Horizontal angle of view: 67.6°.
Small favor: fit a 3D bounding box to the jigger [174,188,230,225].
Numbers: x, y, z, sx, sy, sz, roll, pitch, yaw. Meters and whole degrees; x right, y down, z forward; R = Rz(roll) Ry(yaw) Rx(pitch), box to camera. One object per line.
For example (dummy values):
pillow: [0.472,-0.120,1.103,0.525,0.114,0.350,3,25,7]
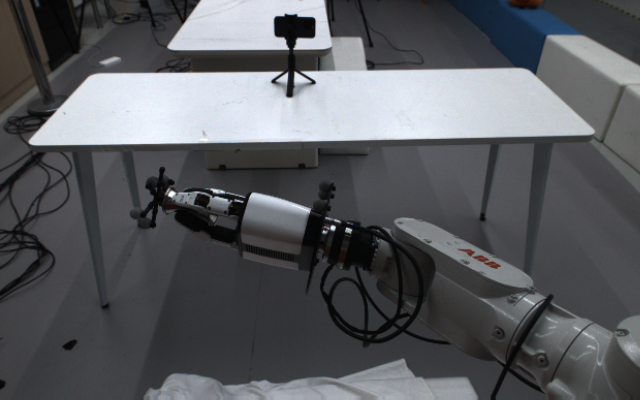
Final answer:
jigger: [-0.173,0.006,0.677,0.071,0.043,0.043,13,36,4]
